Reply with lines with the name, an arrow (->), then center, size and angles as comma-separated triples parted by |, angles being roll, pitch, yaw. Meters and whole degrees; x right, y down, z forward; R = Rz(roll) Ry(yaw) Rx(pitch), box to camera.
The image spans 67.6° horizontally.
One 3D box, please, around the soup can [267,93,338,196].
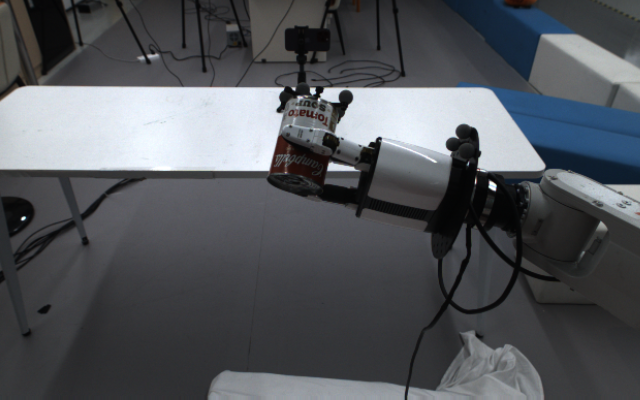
soup can -> -0.018, -0.065, 0.578 | 0.067, 0.067, 0.101 | 9, 74, 9
